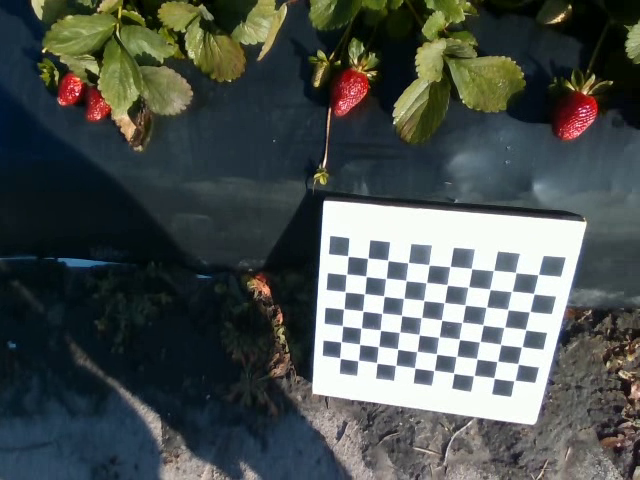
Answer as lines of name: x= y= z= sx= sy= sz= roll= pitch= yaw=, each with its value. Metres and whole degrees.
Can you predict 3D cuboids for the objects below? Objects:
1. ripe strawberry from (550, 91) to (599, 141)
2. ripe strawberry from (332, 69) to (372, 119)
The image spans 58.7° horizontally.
ripe strawberry: x=0.228 y=-0.108 z=0.519 sx=0.043 sy=0.050 sz=0.043 roll=37 pitch=-26 yaw=-9
ripe strawberry: x=0.027 y=-0.144 z=0.549 sx=0.042 sy=0.053 sz=0.043 roll=15 pitch=-21 yaw=0
